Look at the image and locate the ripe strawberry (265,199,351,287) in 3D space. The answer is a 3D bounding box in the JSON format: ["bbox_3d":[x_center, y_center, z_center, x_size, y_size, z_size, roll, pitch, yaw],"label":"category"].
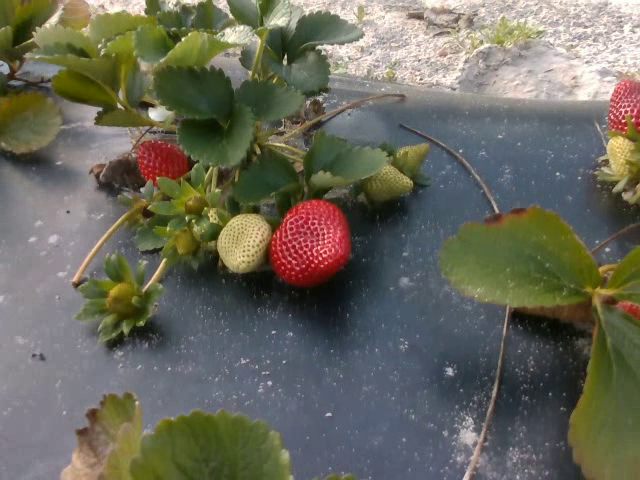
[{"bbox_3d":[-0.003,0.005,0.309,0.048,0.051,0.055,34,3,-19],"label":"ripe strawberry"}]
